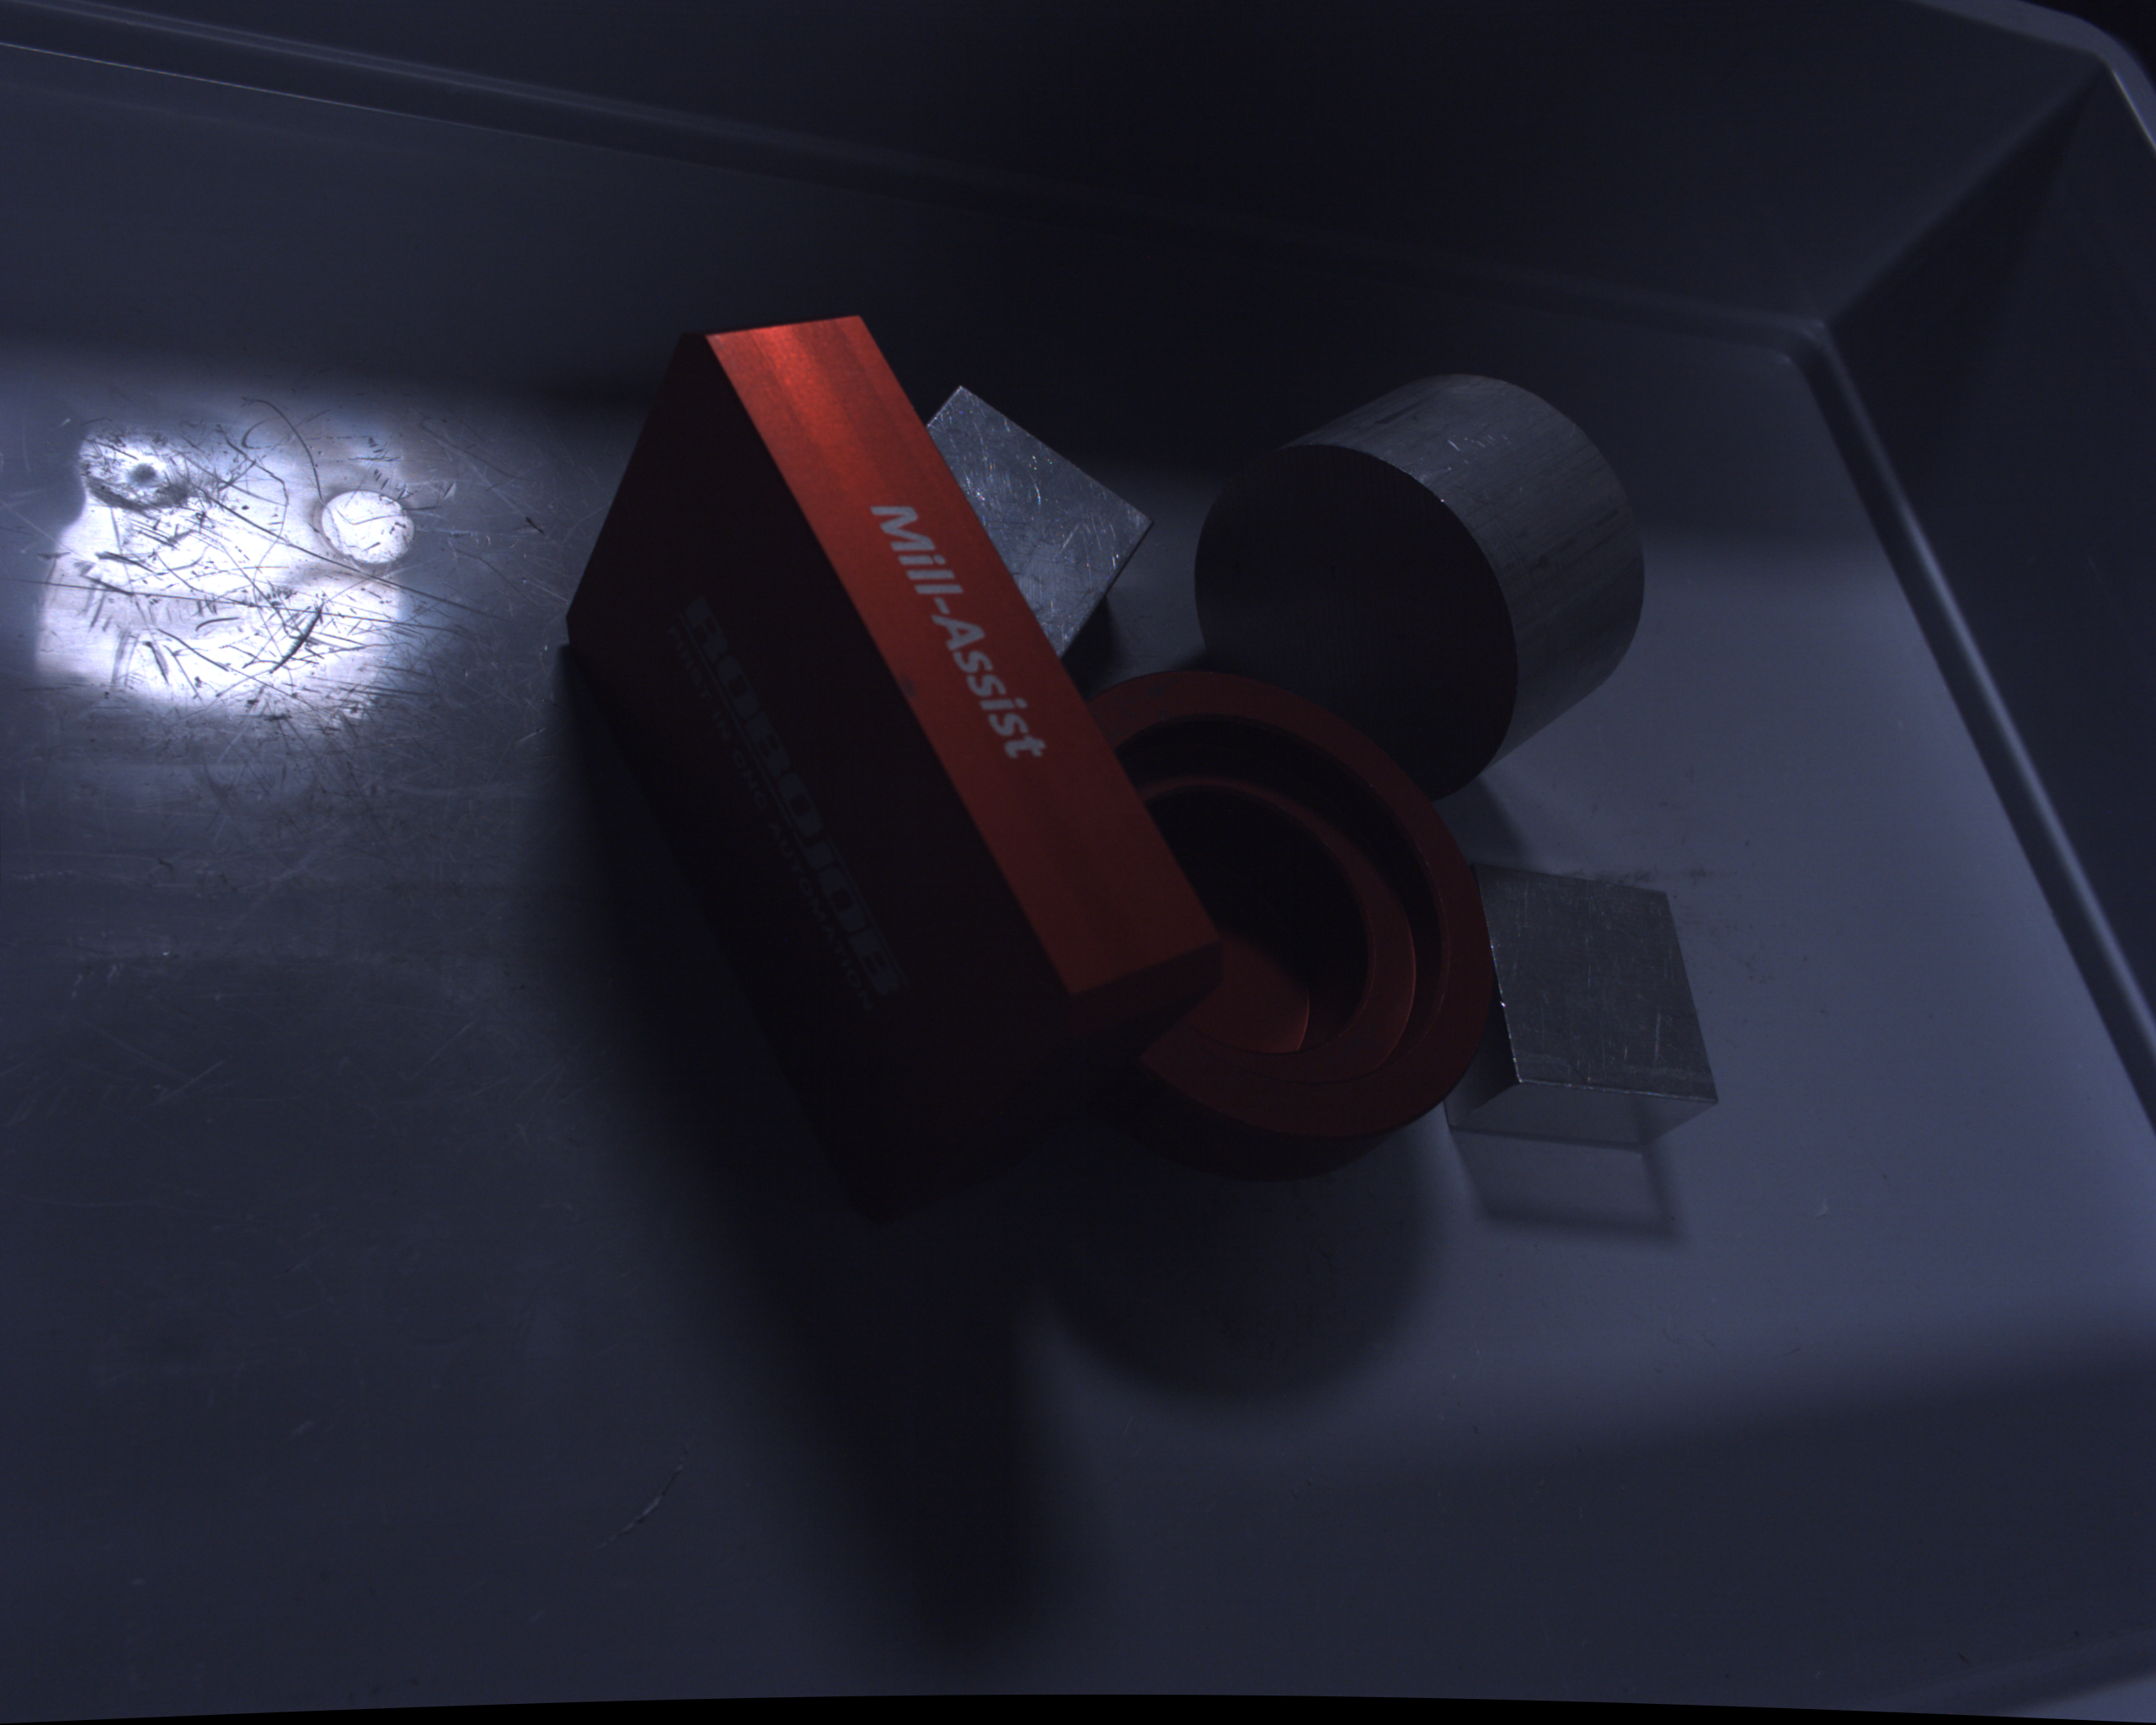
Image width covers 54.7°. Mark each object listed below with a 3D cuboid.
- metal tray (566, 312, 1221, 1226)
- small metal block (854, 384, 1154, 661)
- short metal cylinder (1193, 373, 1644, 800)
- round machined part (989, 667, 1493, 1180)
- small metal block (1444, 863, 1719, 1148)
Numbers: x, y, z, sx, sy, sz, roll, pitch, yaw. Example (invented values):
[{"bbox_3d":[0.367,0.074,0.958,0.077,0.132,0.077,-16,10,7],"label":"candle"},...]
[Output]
[{"bbox_3d":[-0.037,-0.014,0.352,0.030,0.090,0.130,-19,72,-35],"label":"metal tray"},{"bbox_3d":[-0.020,-0.063,0.433,0.050,0.025,0.050,34,52,-5],"label":"small metal block"},{"bbox_3d":[0.072,-0.058,0.445,0.050,0.080,0.080,-33,81,-38],"label":"short metal cylinder"},{"bbox_3d":[0.026,0.015,0.398,0.099,0.042,0.098,14,56,-21],"label":"round machined part"},{"bbox_3d":[0.102,0.031,0.442,0.050,0.025,0.050,8,58,-23],"label":"small metal block"}]
